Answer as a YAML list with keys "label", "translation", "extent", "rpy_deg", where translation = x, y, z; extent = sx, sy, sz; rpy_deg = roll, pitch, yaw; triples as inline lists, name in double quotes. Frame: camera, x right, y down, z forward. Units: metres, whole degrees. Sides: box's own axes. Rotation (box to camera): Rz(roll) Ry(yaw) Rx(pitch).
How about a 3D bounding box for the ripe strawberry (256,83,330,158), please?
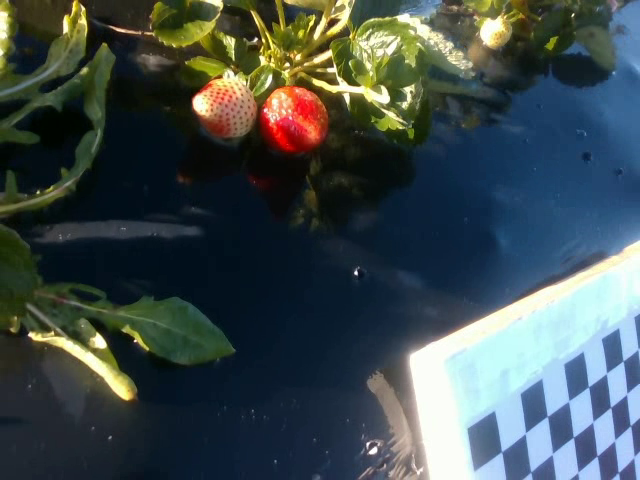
- label: "ripe strawberry"
  translation: [-0.008, -0.060, 0.303]
  extent: [0.040, 0.038, 0.055]
  rpy_deg: [-29, 19, -8]
